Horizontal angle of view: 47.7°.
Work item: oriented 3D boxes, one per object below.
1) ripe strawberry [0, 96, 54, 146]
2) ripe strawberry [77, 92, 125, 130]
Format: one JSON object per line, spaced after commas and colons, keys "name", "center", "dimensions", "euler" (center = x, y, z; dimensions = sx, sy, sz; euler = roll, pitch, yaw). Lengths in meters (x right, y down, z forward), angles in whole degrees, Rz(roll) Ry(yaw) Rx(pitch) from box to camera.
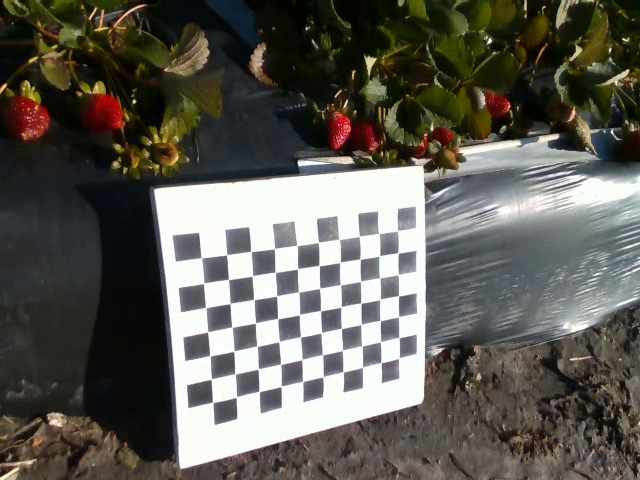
{"name": "ripe strawberry", "center": [-0.260, -0.103, 0.655], "dimensions": [0.050, 0.045, 0.050], "euler": [12, 27, -31]}
{"name": "ripe strawberry", "center": [-0.198, -0.116, 0.691], "dimensions": [0.049, 0.042, 0.039], "euler": [34, -11, 34]}
